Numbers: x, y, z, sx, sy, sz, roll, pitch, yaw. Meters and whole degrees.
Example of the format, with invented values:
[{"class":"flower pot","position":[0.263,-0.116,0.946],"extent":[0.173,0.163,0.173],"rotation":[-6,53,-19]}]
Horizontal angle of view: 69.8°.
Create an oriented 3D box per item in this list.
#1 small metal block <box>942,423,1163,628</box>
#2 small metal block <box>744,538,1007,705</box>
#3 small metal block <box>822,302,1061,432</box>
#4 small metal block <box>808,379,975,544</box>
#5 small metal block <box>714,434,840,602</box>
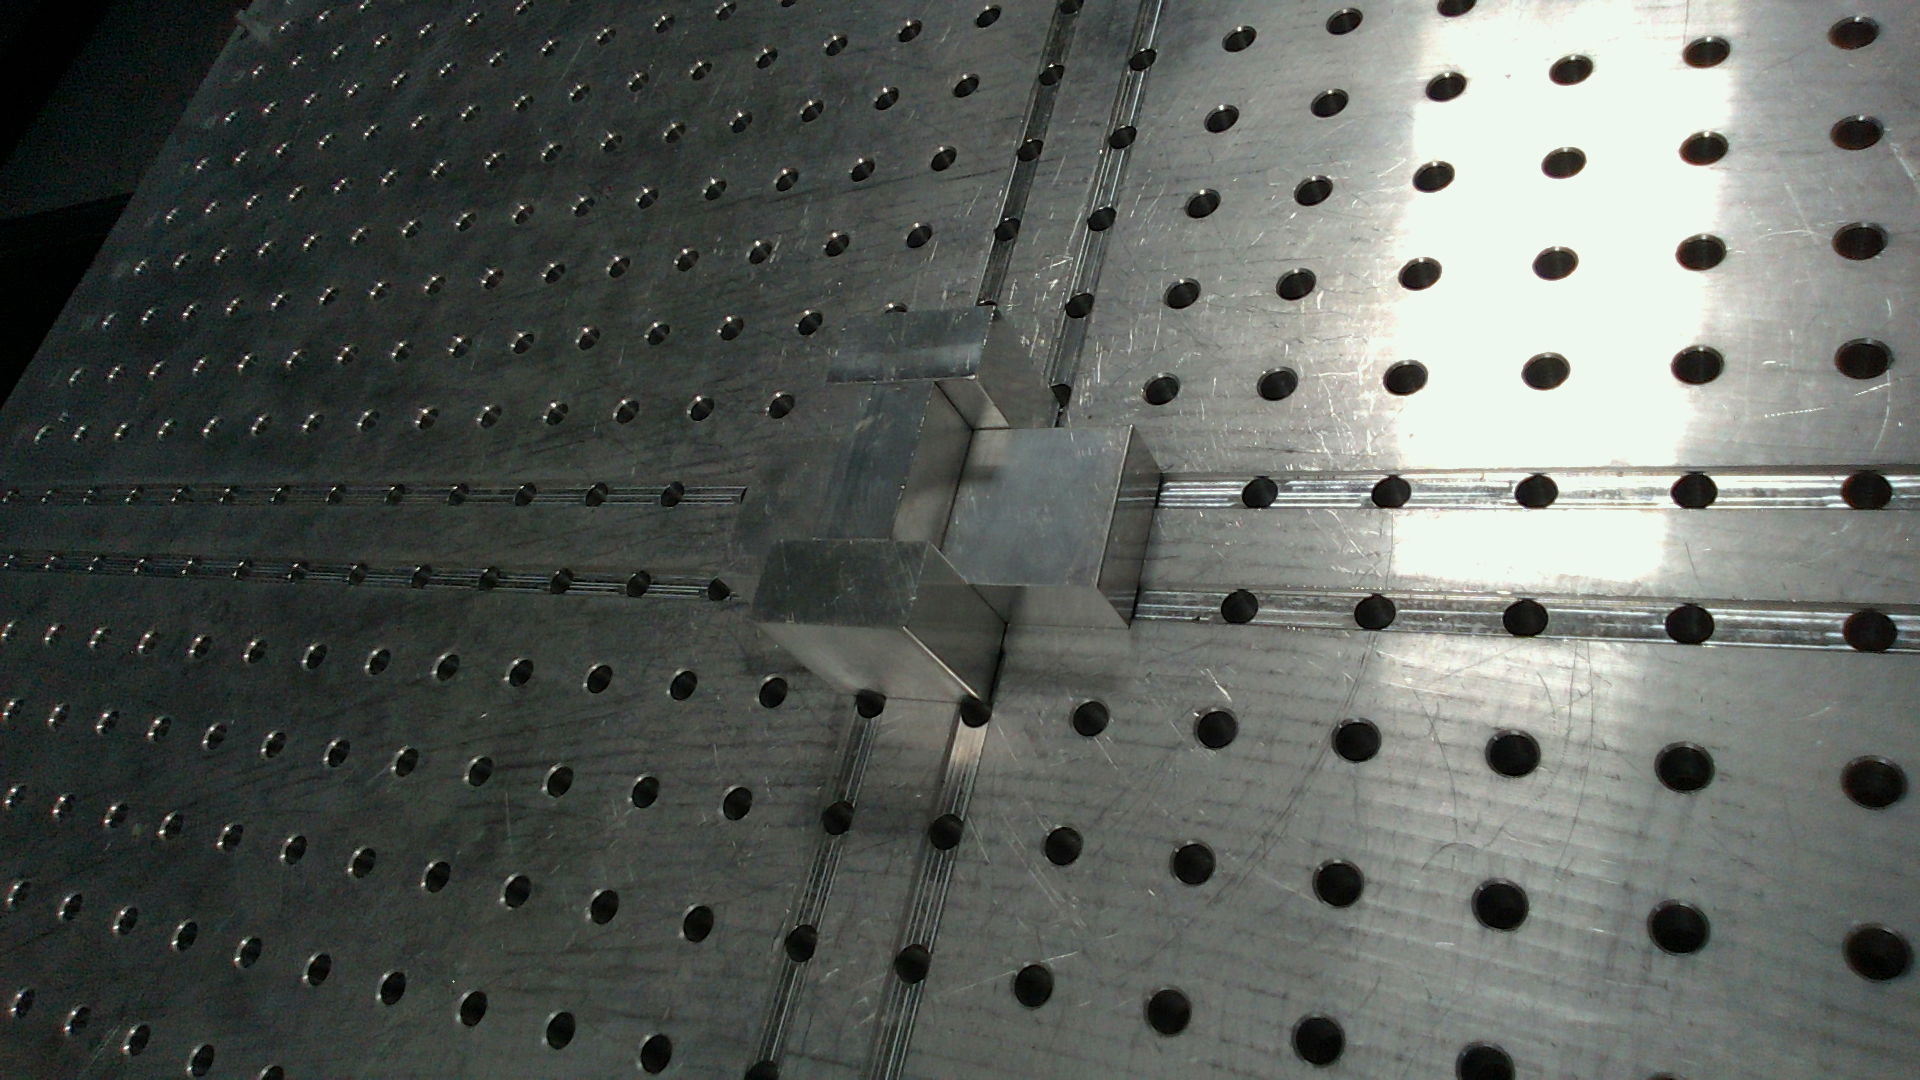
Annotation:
[{"class":"small metal block","position":[0.025,-0.004,0.386],"extent":[0.050,0.025,0.050],"rotation":[1,62,29]},{"class":"small metal block","position":[-0.022,0.023,0.378],"extent":[0.050,0.050,0.025],"rotation":[1,62,29]},{"class":"small metal block","position":[-0.004,-0.044,0.410],"extent":[0.050,0.050,0.025],"rotation":[1,62,29]},{"class":"small metal block","position":[-0.013,-0.011,0.394],"extent":[0.025,0.050,0.050],"rotation":[1,62,29]},{"class":"small metal block","position":[-0.041,-0.005,0.421],"extent":[0.050,0.025,0.050],"rotation":[0,62,29]}]
